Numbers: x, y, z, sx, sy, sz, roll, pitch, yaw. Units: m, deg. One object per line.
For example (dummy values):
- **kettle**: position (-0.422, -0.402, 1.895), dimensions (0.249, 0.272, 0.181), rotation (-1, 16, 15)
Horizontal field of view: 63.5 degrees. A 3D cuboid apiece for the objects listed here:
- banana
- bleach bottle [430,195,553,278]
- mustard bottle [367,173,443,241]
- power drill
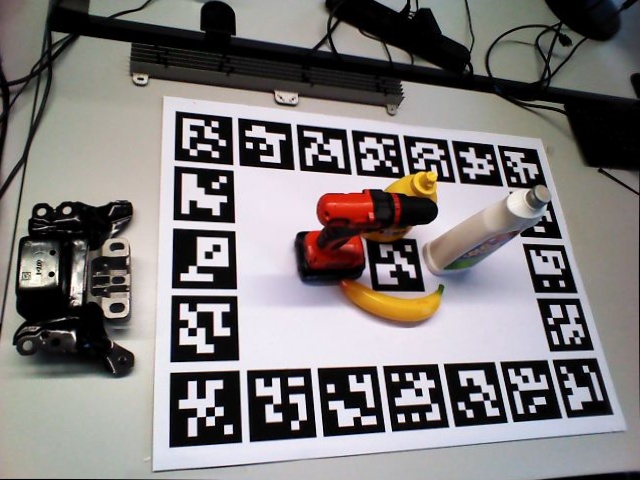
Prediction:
- **banana**: position (0.145, 0.102, 0.866), dimensions (0.197, 0.039, 0.074), rotation (5, 71, -14)
- **bleach bottle**: position (0.287, -0.007, 0.850), dimensions (0.102, 0.252, 0.067), rotation (-6, 71, -21)
- **mustard bottle**: position (0.153, -0.058, 0.851), dimensions (0.096, 0.193, 0.058), rotation (4, 67, -18)
- **power drill**: position (0.065, -0.014, 0.783), dimensions (0.184, 0.188, 0.057), rotation (1, 61, -21)
